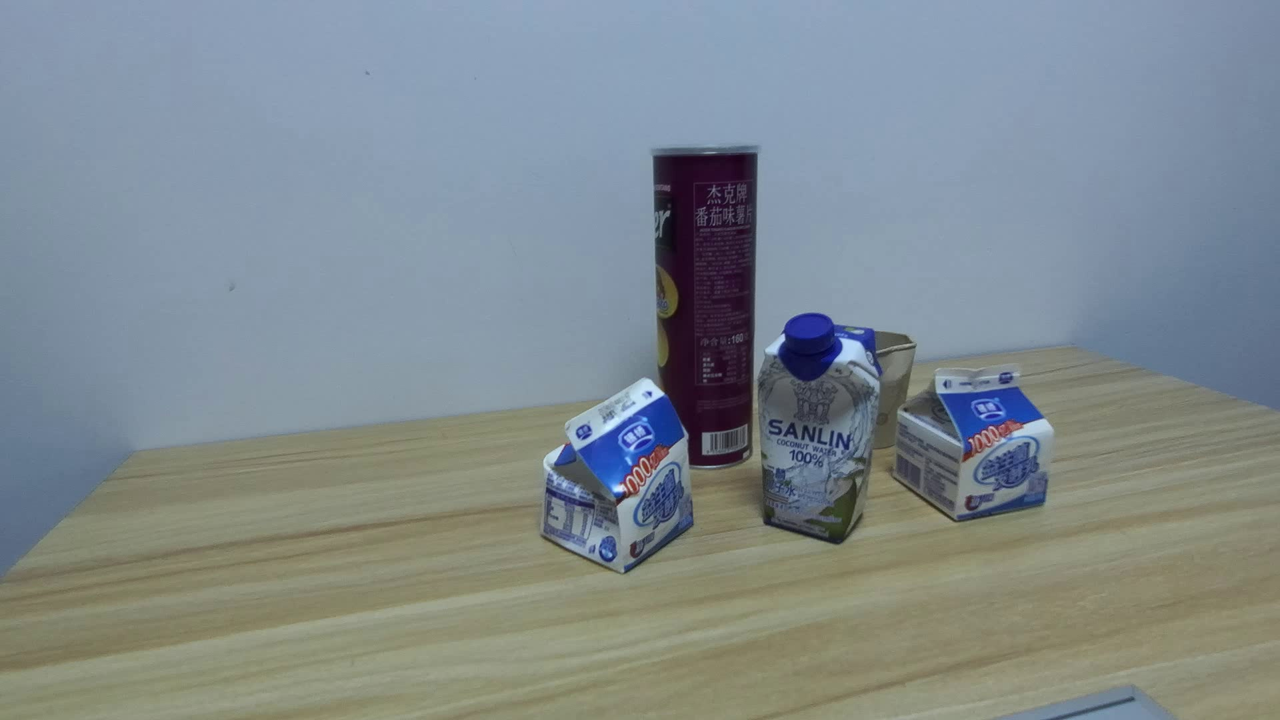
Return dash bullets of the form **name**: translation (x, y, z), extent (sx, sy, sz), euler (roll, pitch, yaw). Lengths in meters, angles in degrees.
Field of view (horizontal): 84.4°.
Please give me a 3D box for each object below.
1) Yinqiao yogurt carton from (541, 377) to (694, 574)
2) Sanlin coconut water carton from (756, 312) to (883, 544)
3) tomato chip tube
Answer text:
- **Yinqiao yogurt carton**: translation (-0.013, 0.064, 0.444), extent (0.077, 0.093, 0.083), euler (13, 23, 39)
- **Sanlin coconut water carton**: translation (0.110, 0.038, 0.441), extent (0.077, 0.142, 0.058), euler (9, 25, 31)
- **tomato chip tube**: translation (0.052, -0.039, 0.537), extent (0.078, 0.234, 0.078), euler (-2, 16, 1)
